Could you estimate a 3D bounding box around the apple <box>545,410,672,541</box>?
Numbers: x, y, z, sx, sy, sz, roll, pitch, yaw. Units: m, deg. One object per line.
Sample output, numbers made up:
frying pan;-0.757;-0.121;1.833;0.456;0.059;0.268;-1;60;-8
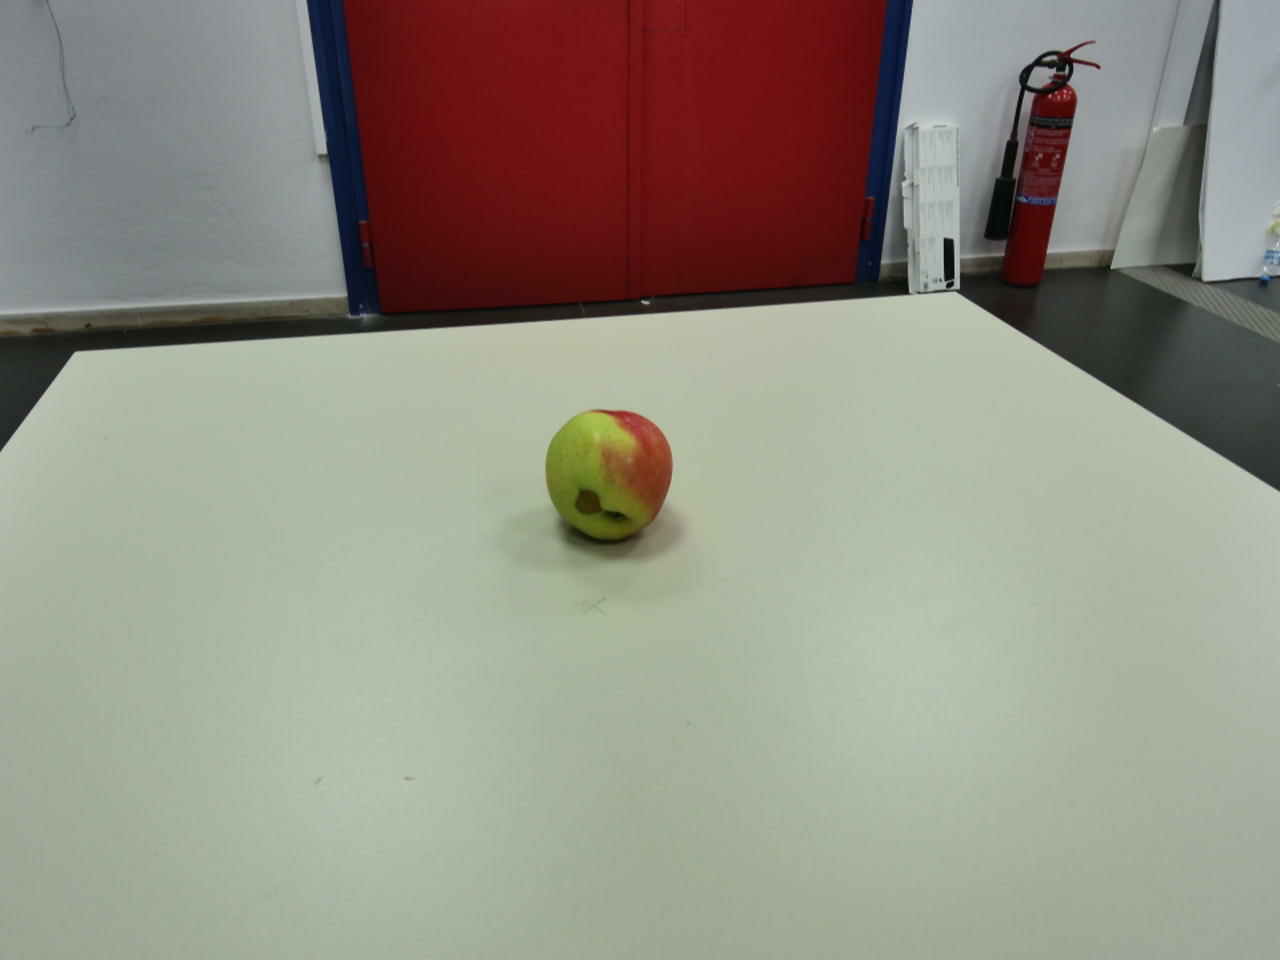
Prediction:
apple;-0.017;-0.004;0.579;0.075;0.074;0.075;-14;30;-29
